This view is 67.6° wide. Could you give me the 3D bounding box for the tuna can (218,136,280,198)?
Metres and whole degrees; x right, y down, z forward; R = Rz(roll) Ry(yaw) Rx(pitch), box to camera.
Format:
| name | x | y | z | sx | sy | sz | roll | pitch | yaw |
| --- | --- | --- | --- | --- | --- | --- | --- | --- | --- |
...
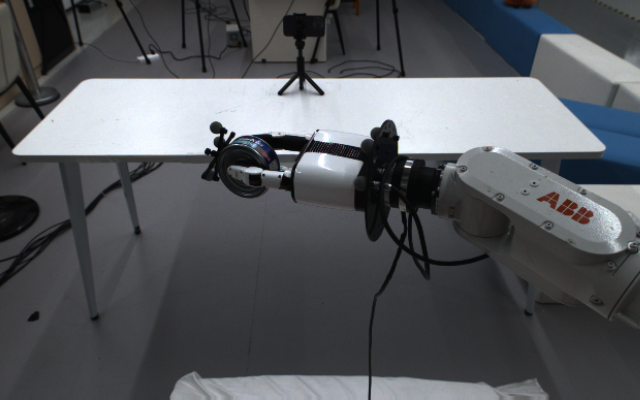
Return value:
| name | x | y | z | sx | sy | sz | roll | pitch | yaw |
| --- | --- | --- | --- | --- | --- | --- | --- | --- | --- |
| tuna can | -0.100 | -0.044 | 0.684 | 0.085 | 0.085 | 0.034 | 12 | 31 | 14 |
